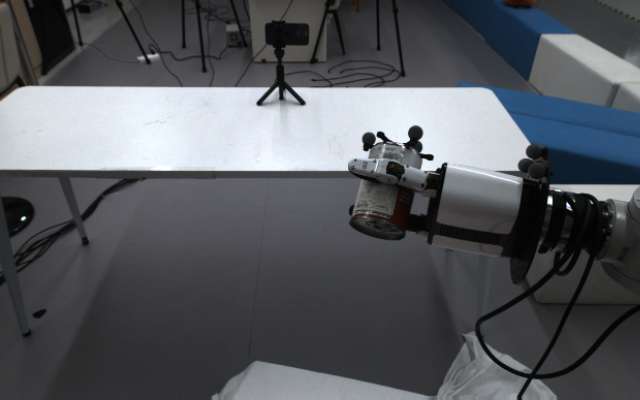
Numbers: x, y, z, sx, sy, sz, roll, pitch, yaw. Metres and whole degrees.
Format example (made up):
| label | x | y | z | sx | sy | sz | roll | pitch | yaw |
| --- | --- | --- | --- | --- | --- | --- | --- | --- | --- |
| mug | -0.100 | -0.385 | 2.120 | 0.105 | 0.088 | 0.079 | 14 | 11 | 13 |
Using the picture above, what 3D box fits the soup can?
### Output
| label | x | y | z | sx | sy | sz | roll | pitch | yaw |
| --- | --- | --- | --- | --- | --- | --- | --- | --- | --- |
| soup can | 0.081 | -0.013 | 0.586 | 0.067 | 0.067 | 0.101 | 12 | 70 | 14 |
